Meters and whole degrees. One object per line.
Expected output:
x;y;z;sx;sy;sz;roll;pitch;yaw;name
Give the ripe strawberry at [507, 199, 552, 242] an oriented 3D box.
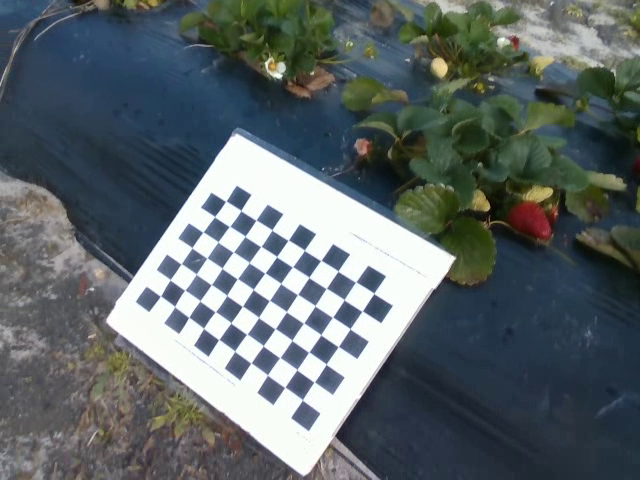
0.217;-0.027;0.700;0.050;0.064;0.043;-25;-21;5;ripe strawberry
